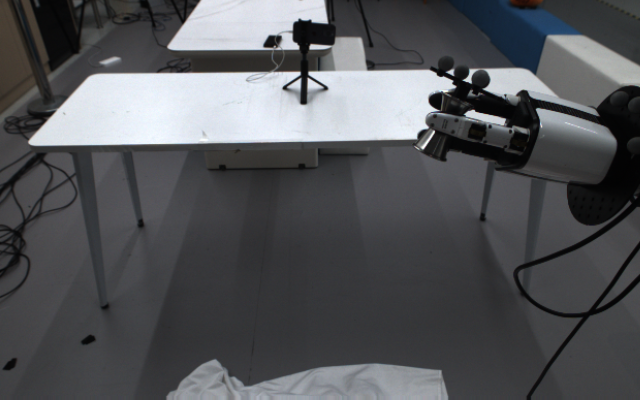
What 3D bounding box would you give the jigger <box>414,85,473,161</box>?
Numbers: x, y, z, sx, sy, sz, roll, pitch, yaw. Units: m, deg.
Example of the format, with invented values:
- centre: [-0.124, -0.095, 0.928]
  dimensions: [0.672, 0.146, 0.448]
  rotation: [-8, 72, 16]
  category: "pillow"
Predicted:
- centre: [0.138, -0.084, 0.547]
  dimensions: [0.043, 0.071, 0.043]
  rotation: [23, 19, -8]
  category: "jigger"
